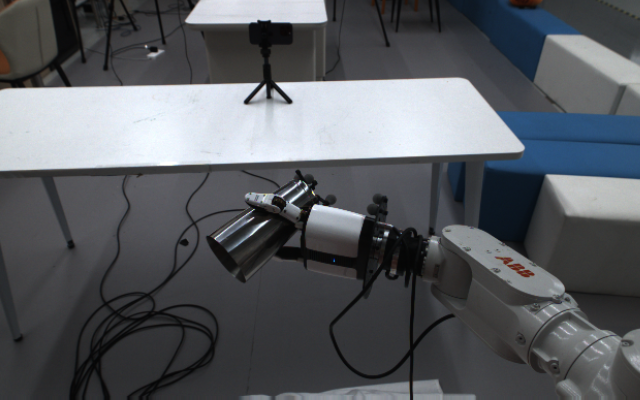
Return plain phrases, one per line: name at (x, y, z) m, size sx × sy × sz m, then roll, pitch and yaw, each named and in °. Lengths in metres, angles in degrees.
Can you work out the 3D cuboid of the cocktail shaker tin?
cocktail shaker tin at (-0.084, 0.038, 0.762) m, size 0.170 × 0.093 × 0.093 m, roll -38°, pitch 50°, yaw -24°
